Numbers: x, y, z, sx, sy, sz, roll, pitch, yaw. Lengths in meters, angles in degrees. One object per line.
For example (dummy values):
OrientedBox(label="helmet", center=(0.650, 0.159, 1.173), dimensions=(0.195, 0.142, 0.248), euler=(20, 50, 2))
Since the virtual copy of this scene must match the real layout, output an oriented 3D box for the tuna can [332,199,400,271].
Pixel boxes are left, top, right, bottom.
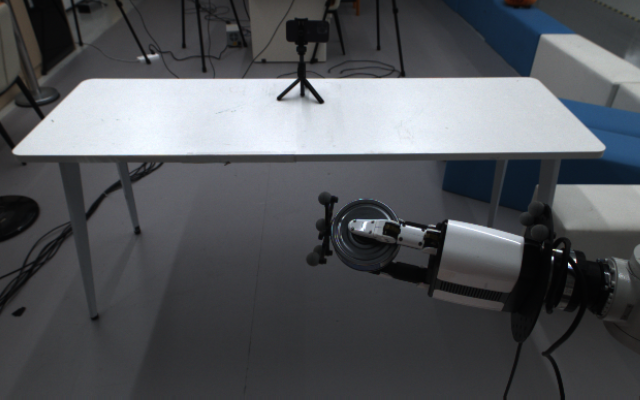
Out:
OrientedBox(label="tuna can", center=(0.060, 0.045, 0.587), dimensions=(0.085, 0.034, 0.085), euler=(-2, 68, 6))
